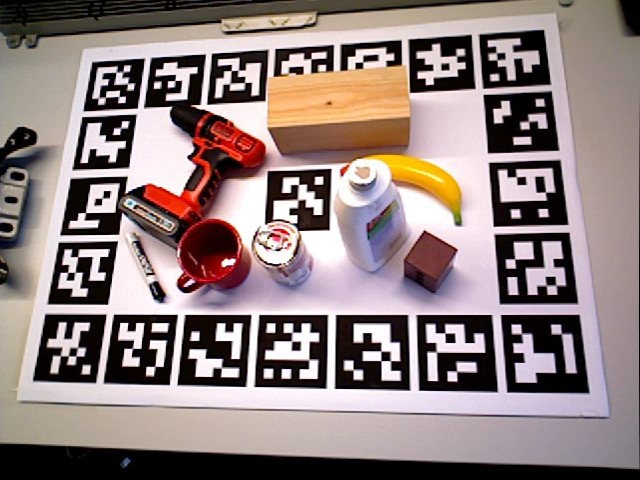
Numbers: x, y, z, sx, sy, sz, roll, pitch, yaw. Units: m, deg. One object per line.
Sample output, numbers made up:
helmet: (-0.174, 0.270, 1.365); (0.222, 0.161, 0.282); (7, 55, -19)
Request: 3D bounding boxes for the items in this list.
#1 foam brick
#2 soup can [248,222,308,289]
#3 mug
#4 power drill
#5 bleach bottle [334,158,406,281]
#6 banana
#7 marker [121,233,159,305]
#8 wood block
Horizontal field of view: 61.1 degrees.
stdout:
foam brick: (0.149, 0.041, 0.721); (0.053, 0.079, 0.051); (34, 76, 19)
soup can: (-0.054, 0.020, 0.738); (0.068, 0.103, 0.067); (-2, 66, 5)
mug: (-0.160, 0.030, 0.767); (0.117, 0.082, 0.093); (-45, 73, -5)
power drill: (-0.198, -0.102, 0.836); (0.184, 0.058, 0.185); (29, 77, 13)
bleach bottle: (0.063, -0.033, 0.664); (0.068, 0.253, 0.101); (29, 75, 17)
banana: (0.114, -0.094, 0.788); (0.197, 0.039, 0.074); (16, 88, 11)
marker: (-0.270, 0.044, 0.816); (0.019, 0.020, 0.120); (-29, 71, 0)
wood block: (0.035, -0.186, 0.806); (0.206, 0.091, 0.089); (-1, 72, 8)
